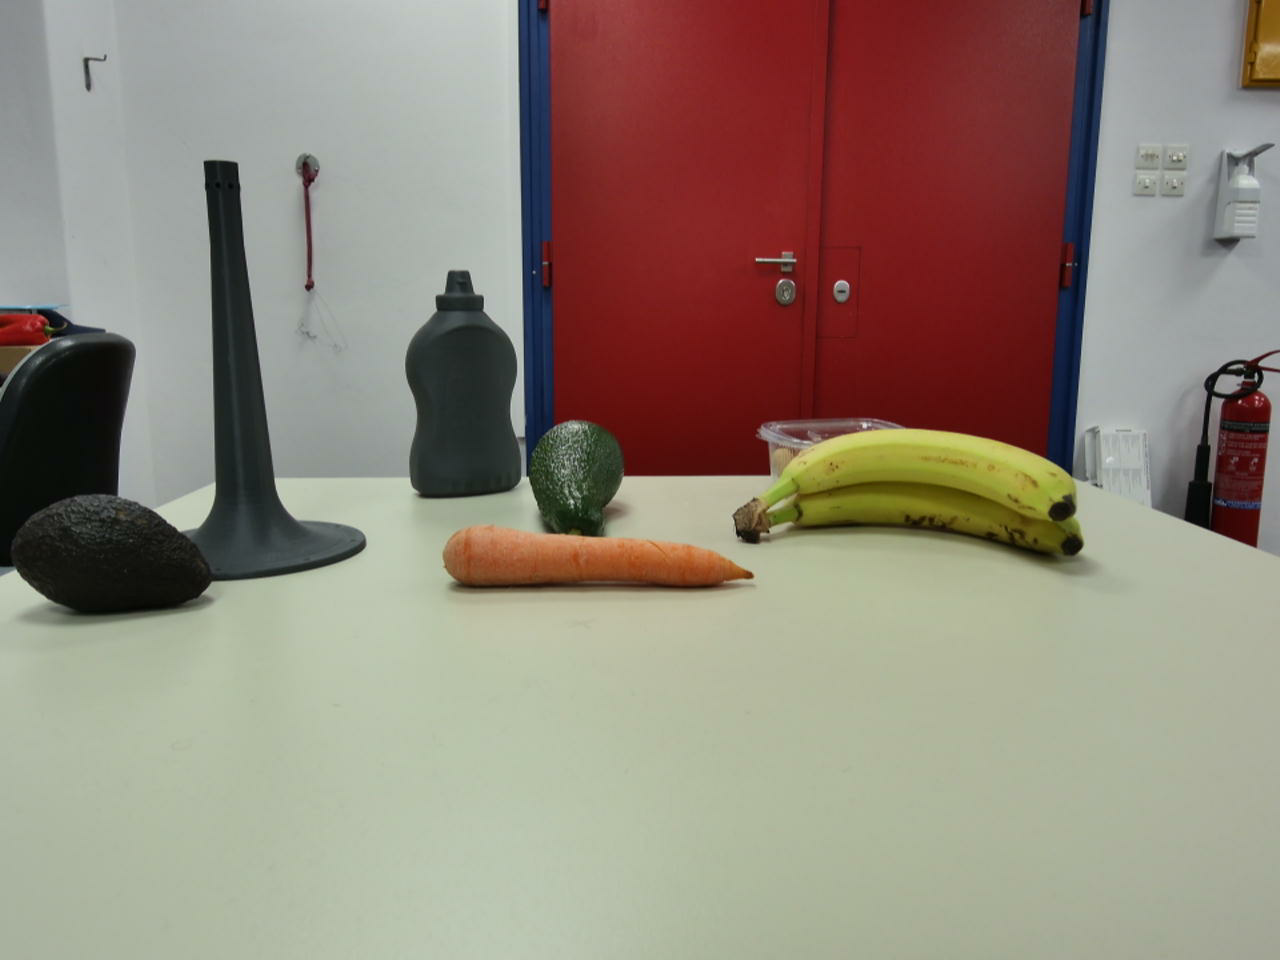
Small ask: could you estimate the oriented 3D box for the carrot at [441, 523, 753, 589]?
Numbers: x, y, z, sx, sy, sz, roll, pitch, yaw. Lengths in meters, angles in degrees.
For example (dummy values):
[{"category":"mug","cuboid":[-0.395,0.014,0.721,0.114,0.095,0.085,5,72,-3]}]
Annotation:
[{"category":"carrot","cuboid":[-0.026,0.048,0.629,0.196,0.041,0.039,0,8,-1]}]
